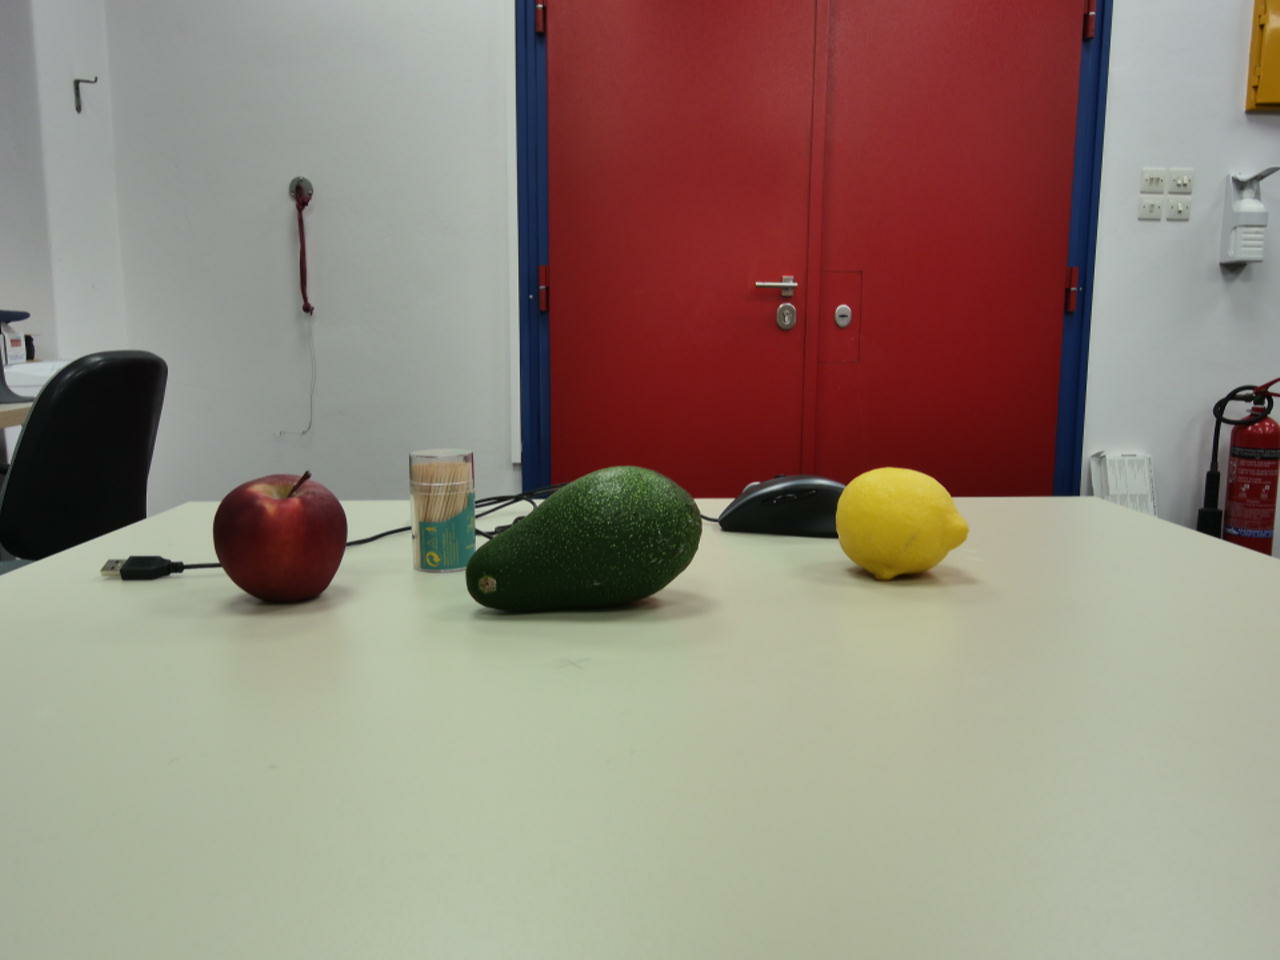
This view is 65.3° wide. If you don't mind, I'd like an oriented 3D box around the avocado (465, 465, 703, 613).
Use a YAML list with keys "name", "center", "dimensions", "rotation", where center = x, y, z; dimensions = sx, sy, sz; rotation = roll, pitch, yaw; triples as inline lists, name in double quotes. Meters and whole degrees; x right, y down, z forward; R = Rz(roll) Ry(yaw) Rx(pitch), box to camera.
- name: "avocado"
  center: [-0.028, 0.030, 0.539]
  dimensions: [0.123, 0.076, 0.074]
  rotation: [0, 6, 5]
